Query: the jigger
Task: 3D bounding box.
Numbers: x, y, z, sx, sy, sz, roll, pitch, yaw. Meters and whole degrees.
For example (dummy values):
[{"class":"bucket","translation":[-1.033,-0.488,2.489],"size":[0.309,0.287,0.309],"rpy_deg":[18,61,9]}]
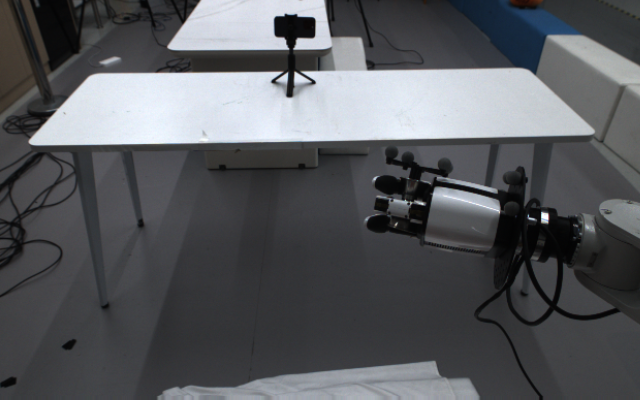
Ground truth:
[{"class":"jigger","translation":[0.120,0.006,0.648],"size":[0.043,0.071,0.043],"rpy_deg":[14,1,0]}]
